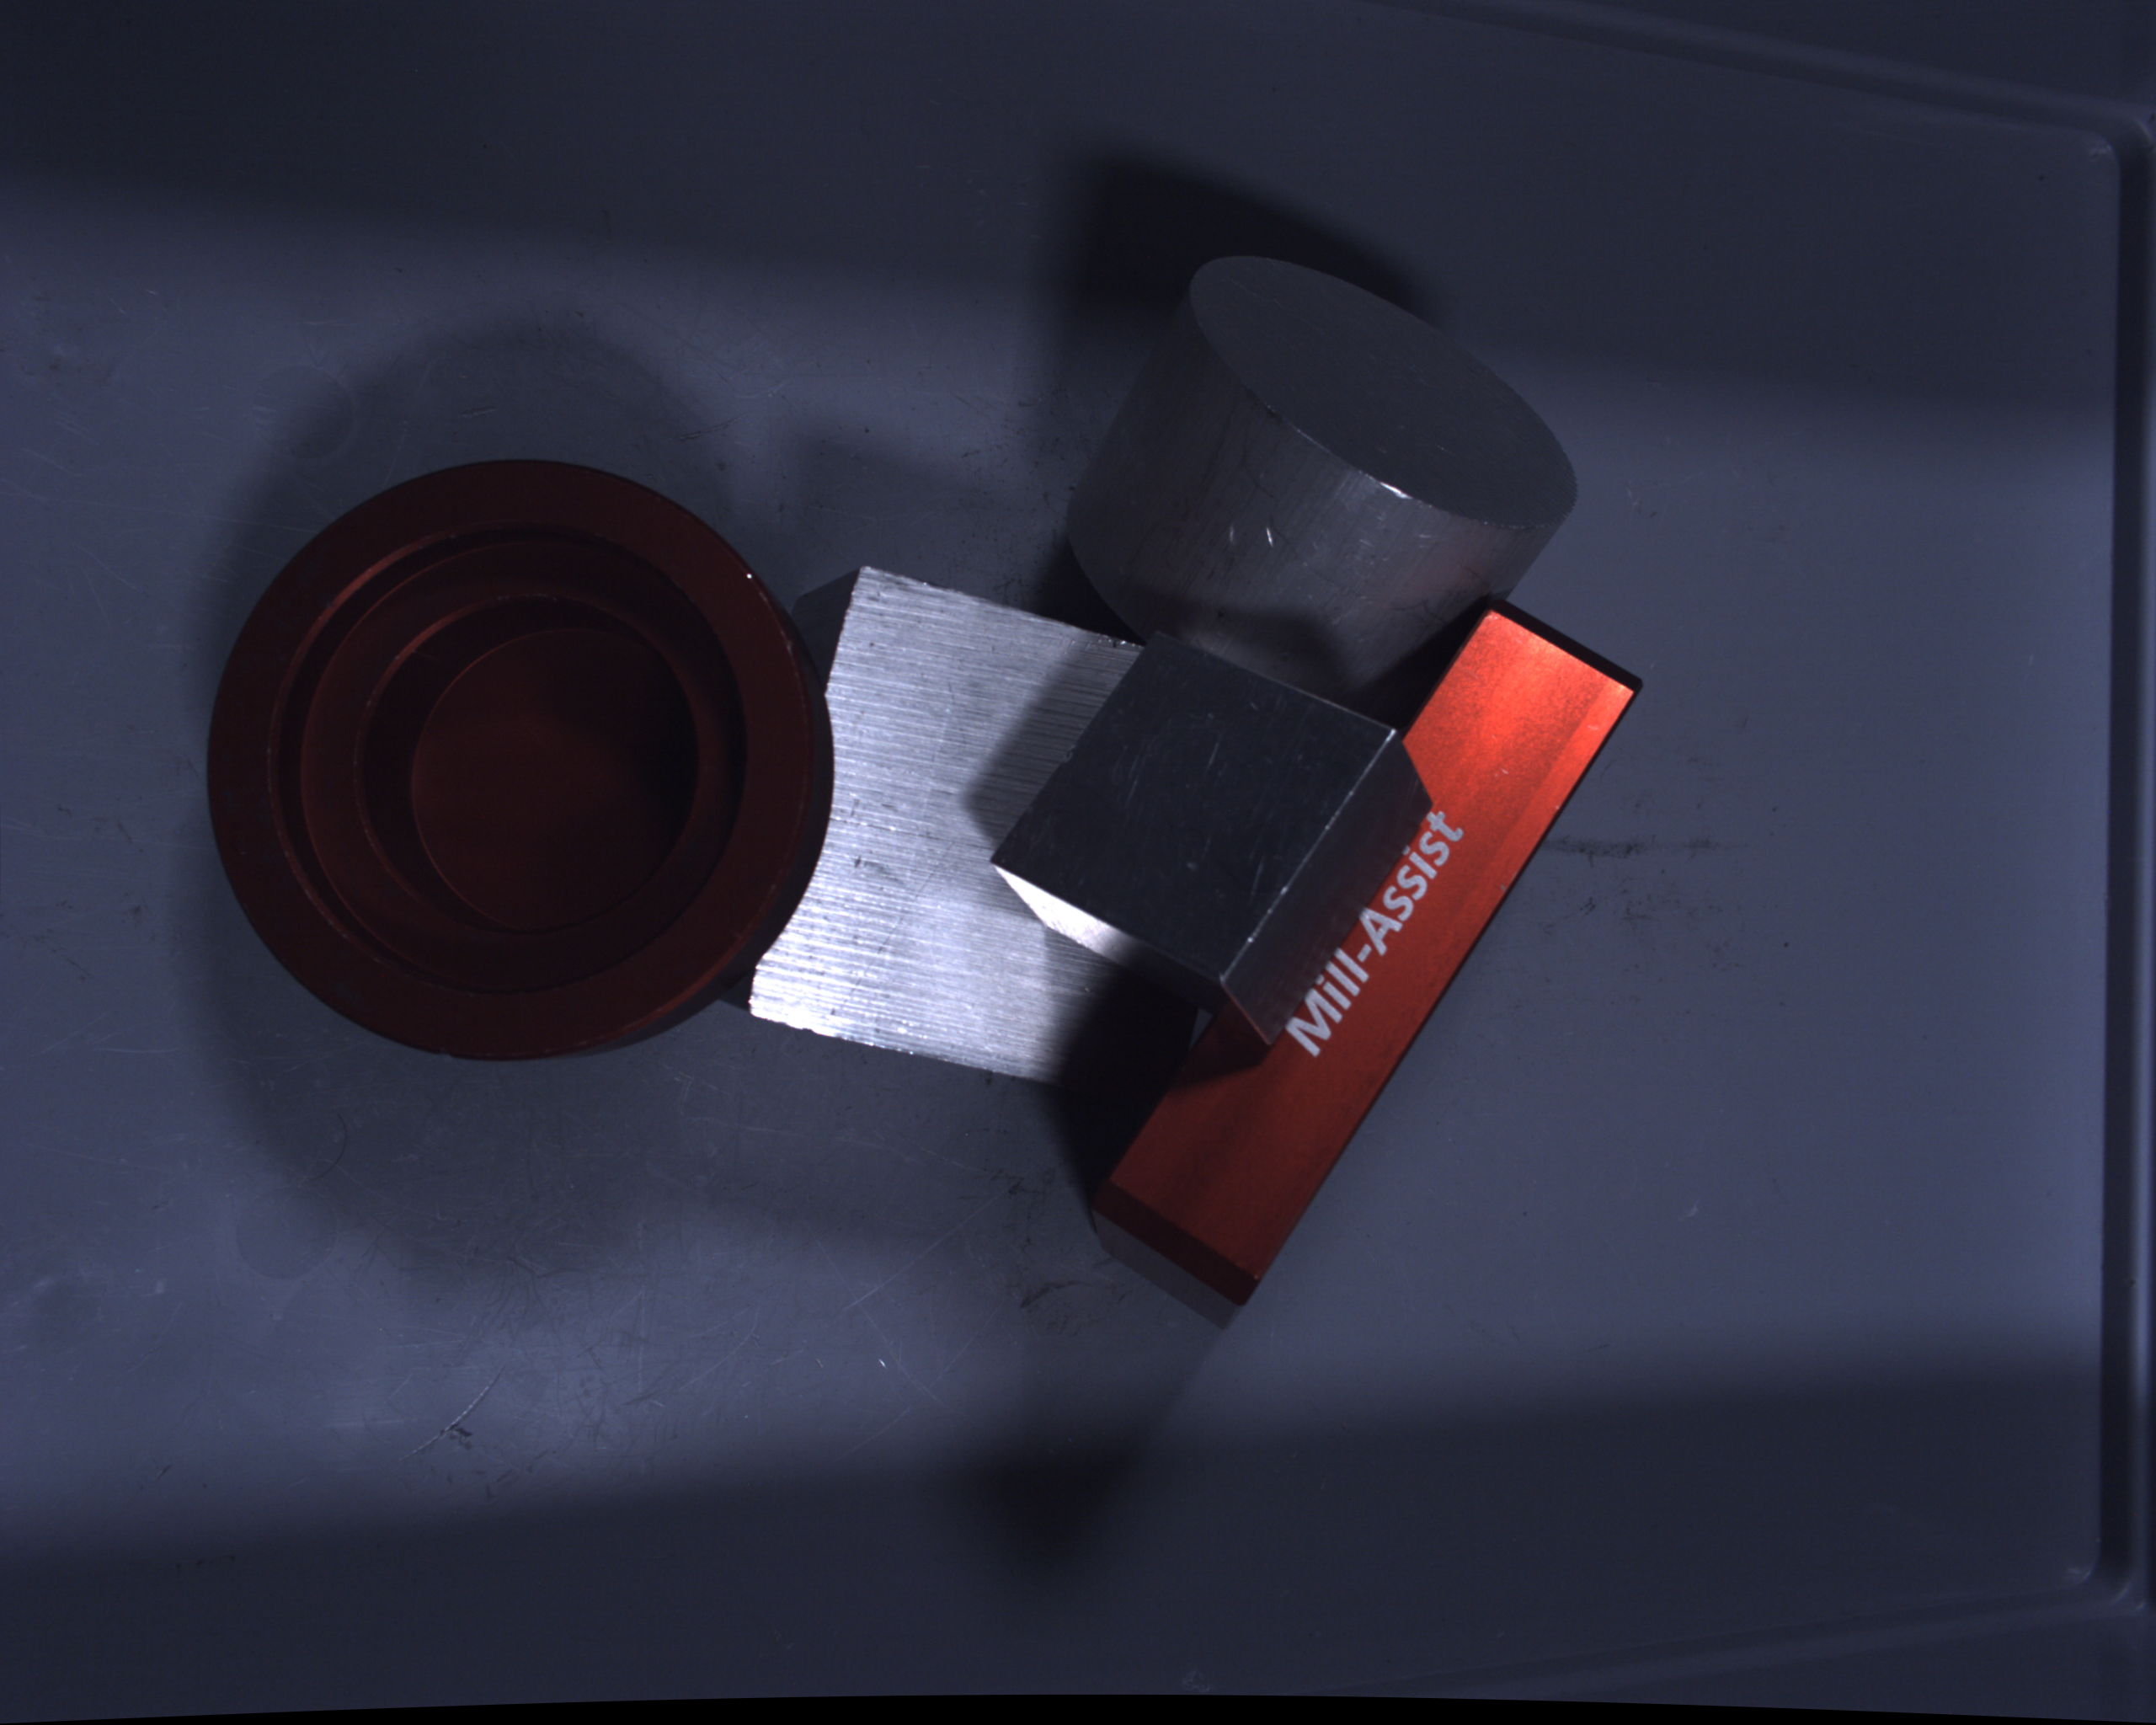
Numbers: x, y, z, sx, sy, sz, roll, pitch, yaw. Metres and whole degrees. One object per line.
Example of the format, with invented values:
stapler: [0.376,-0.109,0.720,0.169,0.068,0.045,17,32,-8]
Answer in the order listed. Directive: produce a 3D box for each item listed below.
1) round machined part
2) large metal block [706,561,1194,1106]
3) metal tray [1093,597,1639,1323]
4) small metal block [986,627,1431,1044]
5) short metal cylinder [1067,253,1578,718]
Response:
round machined part: [-0.090,-0.015,0.355,0.099,0.042,0.097,0,85,2]
large metal block: [-0.019,-0.003,0.390,0.081,0.050,0.080,16,85,-20]
metal tray: [0.052,0.023,0.393,0.030,0.090,0.130,32,78,10]
small metal block: [0.022,-0.005,0.350,0.050,0.050,0.025,-54,145,-12]
short metal cylinder: [0.045,-0.069,0.391,0.081,0.080,0.050,17,129,-20]
